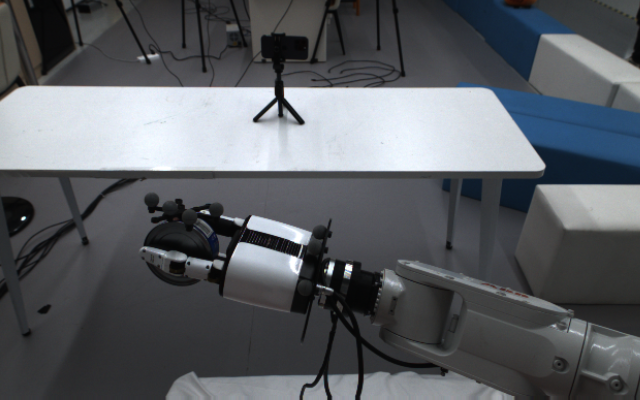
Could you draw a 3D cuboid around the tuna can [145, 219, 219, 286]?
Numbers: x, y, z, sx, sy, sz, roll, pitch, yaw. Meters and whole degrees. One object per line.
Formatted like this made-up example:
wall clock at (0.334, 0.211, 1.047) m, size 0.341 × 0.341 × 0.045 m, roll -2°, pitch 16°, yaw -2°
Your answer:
tuna can at (-0.168, 0.060, 0.595) m, size 0.085 × 0.085 × 0.034 m, roll 5°, pitch 17°, yaw 5°
